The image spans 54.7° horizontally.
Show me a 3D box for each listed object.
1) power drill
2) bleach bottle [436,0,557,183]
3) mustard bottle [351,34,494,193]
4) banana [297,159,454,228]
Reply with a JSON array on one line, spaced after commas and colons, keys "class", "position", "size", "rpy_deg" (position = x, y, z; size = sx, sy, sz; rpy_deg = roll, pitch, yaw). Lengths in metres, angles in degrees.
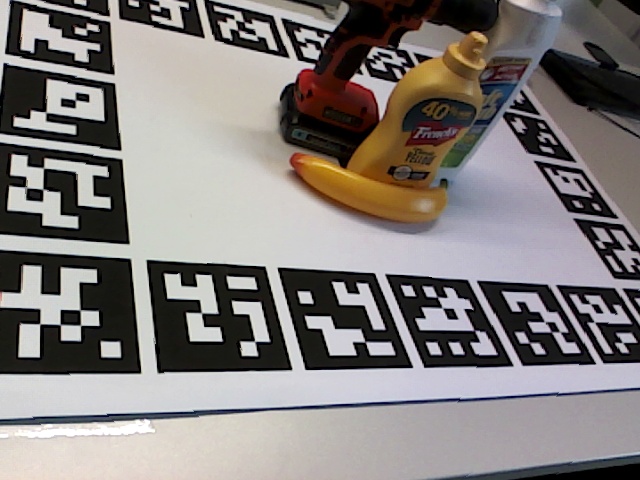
[{"class": "power drill", "position": [0.070, -0.196, 0.645], "size": [0.184, 0.187, 0.057], "rpy_deg": [16, 43, -19]}, {"class": "bleach bottle", "position": [0.173, -0.179, 0.684], "size": [0.102, 0.251, 0.068], "rpy_deg": [7, 41, -25]}, {"class": "mustard bottle", "position": [0.115, -0.125, 0.633], "size": [0.095, 0.192, 0.059], "rpy_deg": [6, 48, -27]}, {"class": "banana", "position": [0.070, -0.049, 0.663], "size": [0.196, 0.039, 0.074], "rpy_deg": [7, 48, -22]}]
